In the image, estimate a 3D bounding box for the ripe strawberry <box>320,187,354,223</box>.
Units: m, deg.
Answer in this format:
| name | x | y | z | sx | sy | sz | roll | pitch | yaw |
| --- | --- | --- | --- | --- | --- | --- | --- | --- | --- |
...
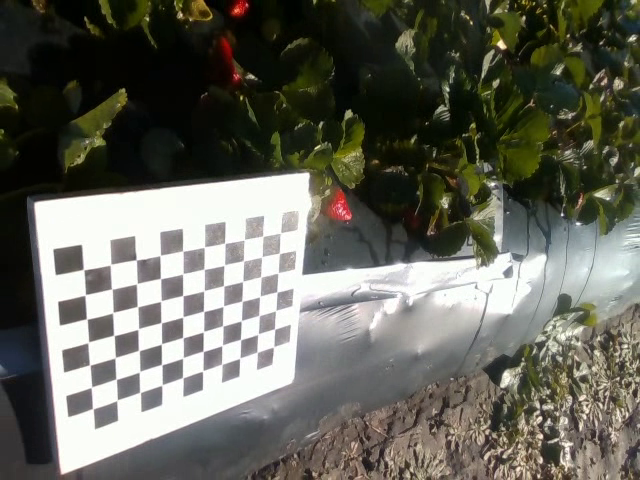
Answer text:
| name | x | y | z | sx | sy | sz | roll | pitch | yaw |
| --- | --- | --- | --- | --- | --- | --- | --- | --- | --- |
| ripe strawberry | 0.025 | -0.042 | 0.789 | 0.029 | 0.048 | 0.055 | 26 | -16 | 46 |
